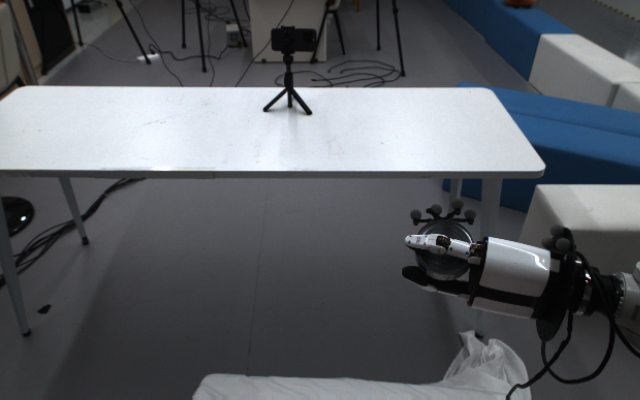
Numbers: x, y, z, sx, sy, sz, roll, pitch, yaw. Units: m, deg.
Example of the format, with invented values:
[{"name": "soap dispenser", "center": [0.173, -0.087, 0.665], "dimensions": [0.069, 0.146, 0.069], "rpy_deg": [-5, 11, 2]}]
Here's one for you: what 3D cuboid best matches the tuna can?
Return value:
[{"name": "tuna can", "center": [0.182, 0.071, 0.708], "dimensions": [0.085, 0.034, 0.085], "rpy_deg": [-6, 59, 11]}]
